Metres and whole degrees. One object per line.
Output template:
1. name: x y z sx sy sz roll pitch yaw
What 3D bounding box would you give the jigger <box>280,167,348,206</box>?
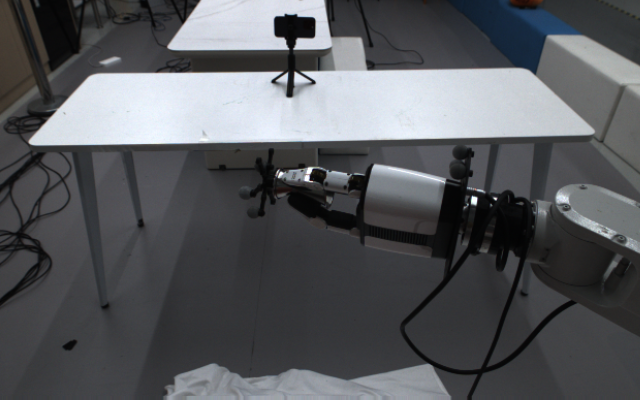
1. jigger: -0.013 -0.020 0.598 0.071 0.043 0.043 8 35 15
